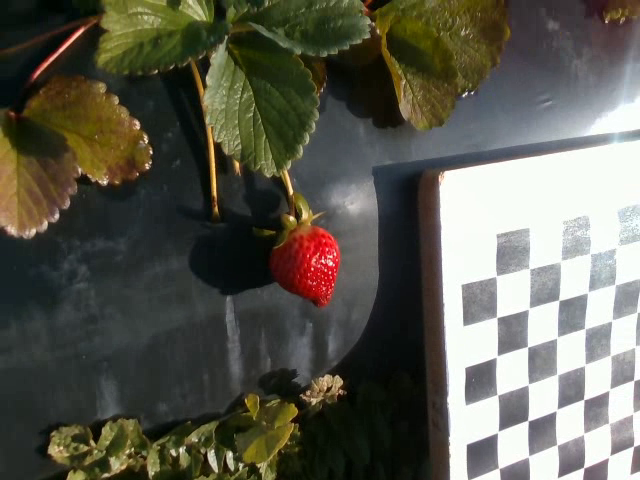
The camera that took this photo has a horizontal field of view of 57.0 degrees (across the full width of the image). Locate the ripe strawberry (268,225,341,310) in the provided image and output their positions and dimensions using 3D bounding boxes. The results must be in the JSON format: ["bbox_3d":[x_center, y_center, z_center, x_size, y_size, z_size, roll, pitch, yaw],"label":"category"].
[{"bbox_3d":[-0.005,0.014,0.274,0.040,0.044,0.036,-30,8,-17],"label":"ripe strawberry"}]
